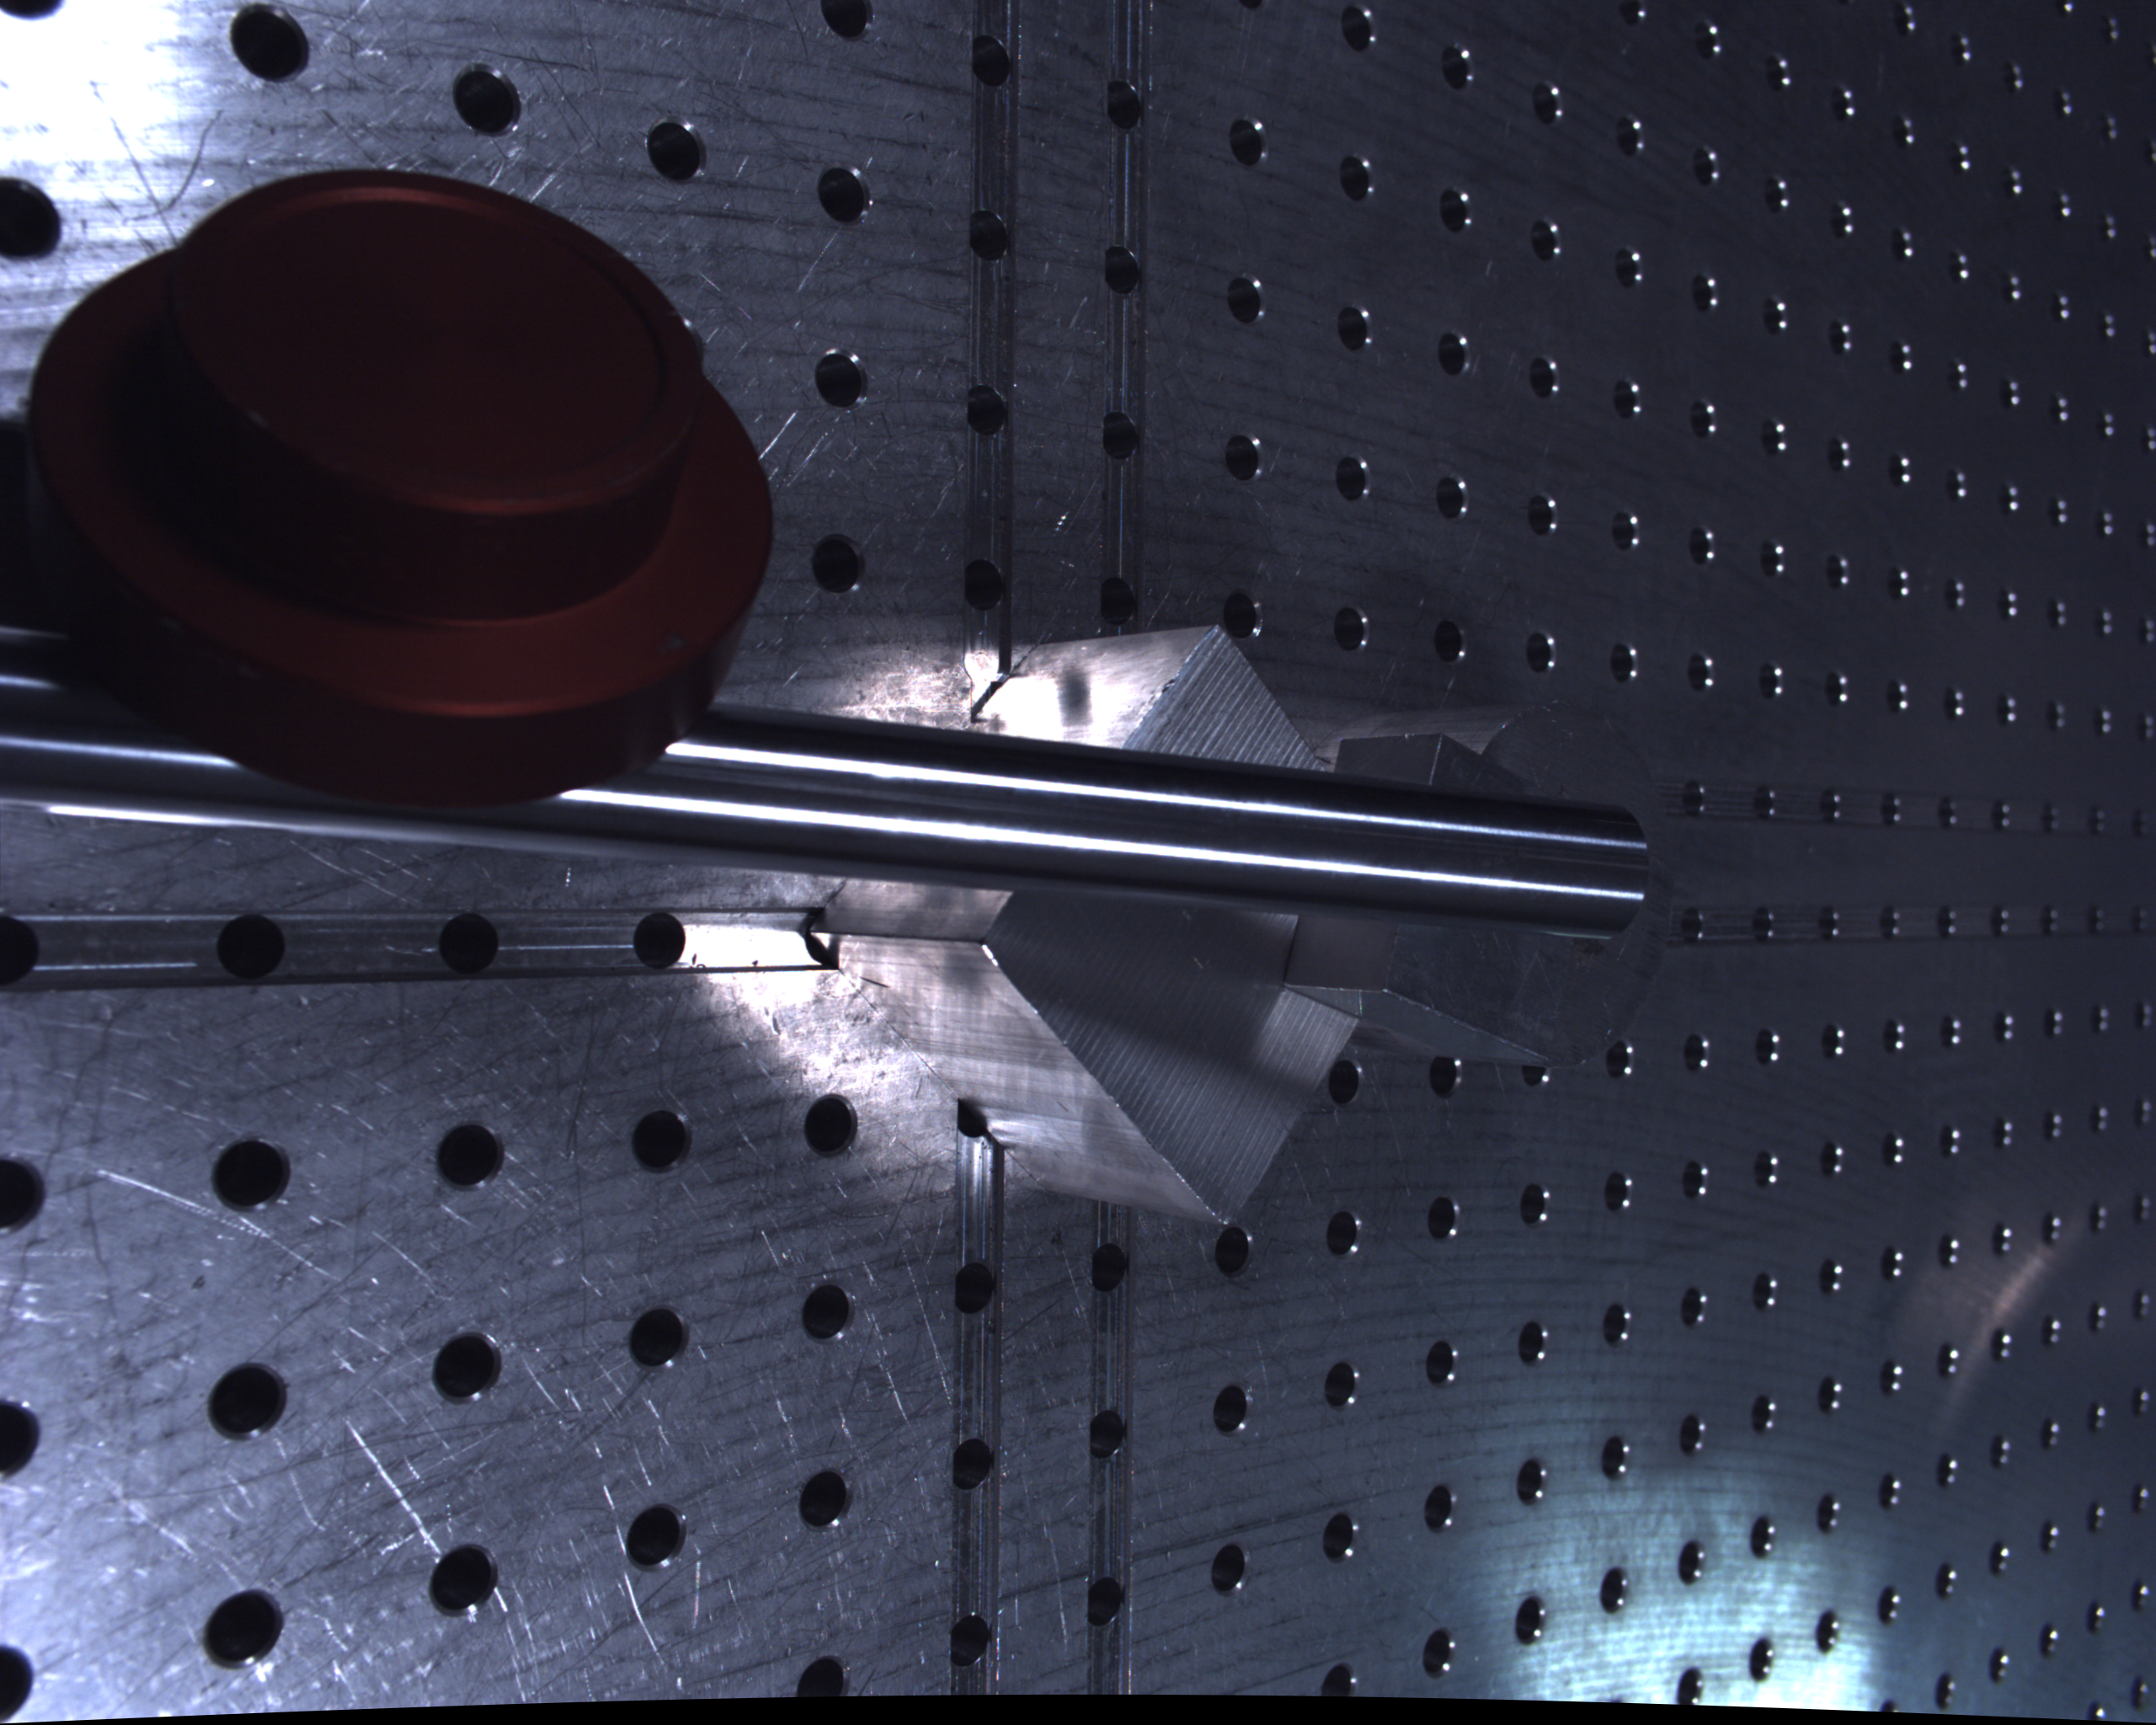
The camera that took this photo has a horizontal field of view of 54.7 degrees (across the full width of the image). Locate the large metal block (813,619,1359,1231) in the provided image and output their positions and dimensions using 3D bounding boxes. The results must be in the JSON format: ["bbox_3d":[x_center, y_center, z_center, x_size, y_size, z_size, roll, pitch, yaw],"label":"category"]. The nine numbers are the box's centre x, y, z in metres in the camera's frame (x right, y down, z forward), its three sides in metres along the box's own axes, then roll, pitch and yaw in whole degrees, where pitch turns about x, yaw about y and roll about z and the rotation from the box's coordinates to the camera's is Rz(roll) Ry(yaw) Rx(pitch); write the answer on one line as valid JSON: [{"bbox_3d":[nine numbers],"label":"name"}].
[{"bbox_3d":[0.011,0.011,0.401,0.080,0.050,0.080,52,60,-28],"label":"large metal block"}]

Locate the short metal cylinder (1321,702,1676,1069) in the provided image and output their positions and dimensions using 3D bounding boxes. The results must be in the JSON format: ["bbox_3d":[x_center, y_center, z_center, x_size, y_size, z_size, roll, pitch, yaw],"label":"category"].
[{"bbox_3d":[0.090,0.005,0.471,0.081,0.050,0.079,0,90,-40],"label":"short metal cylinder"}]

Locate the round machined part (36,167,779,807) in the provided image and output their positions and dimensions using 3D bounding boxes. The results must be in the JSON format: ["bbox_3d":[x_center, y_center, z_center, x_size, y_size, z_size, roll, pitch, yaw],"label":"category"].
[{"bbox_3d":[-0.089,-0.058,0.289,0.099,0.042,0.098,14,48,-15],"label":"round machined part"}]

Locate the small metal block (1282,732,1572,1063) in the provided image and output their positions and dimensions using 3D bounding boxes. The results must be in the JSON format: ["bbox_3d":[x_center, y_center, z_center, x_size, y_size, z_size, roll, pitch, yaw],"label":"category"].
[{"bbox_3d":[0.071,0.007,0.403,0.050,0.025,0.050,24,75,-38],"label":"small metal block"}]

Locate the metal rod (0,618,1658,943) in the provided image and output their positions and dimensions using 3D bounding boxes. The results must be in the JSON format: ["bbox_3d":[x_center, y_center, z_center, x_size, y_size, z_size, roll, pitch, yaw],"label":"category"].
[{"bbox_3d":[-0.041,-0.011,0.319,0.302,0.025,0.025,5,87,-23],"label":"metal rod"}]
